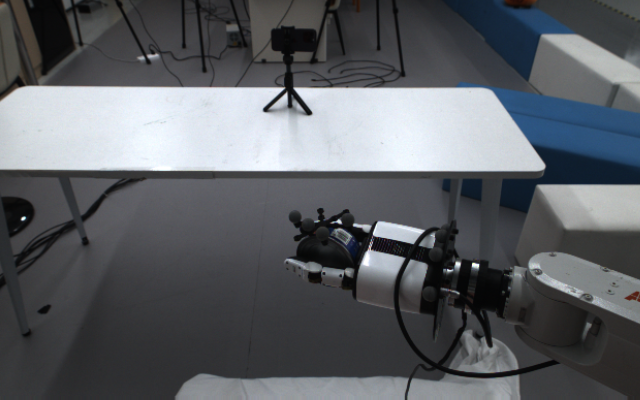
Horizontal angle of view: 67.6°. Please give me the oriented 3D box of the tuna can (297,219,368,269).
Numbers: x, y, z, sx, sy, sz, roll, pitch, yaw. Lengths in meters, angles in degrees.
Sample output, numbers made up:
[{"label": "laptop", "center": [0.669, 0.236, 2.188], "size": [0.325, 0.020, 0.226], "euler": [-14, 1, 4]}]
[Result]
[{"label": "tuna can", "center": [0.016, 0.074, 0.662], "size": [0.085, 0.085, 0.034], "euler": [17, 37, 20]}]
